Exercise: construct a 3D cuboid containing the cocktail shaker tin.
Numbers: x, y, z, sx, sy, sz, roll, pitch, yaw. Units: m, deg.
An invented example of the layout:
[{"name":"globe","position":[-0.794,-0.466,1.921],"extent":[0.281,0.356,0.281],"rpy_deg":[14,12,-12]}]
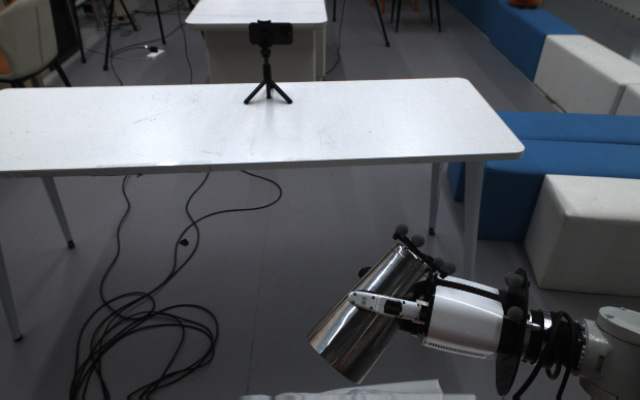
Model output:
[{"name":"cocktail shaker tin","position":[0.073,0.139,0.634],"extent":[0.170,0.093,0.093],"rpy_deg":[-48,50,-5]}]
